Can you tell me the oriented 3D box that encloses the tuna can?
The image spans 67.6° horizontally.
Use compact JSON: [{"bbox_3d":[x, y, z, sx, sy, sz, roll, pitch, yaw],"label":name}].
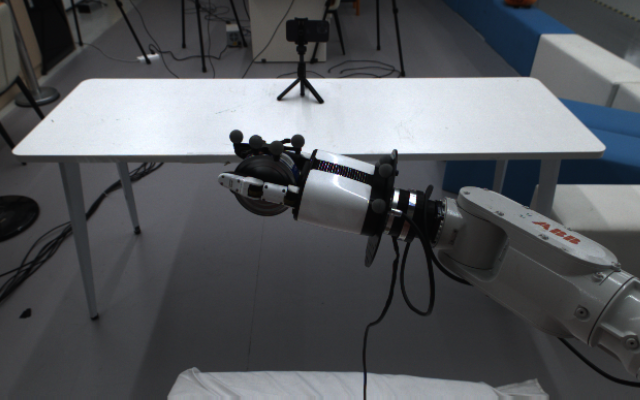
[{"bbox_3d":[-0.068,-0.023,0.638,0.085,0.085,0.034,6,23,6],"label":"tuna can"}]
